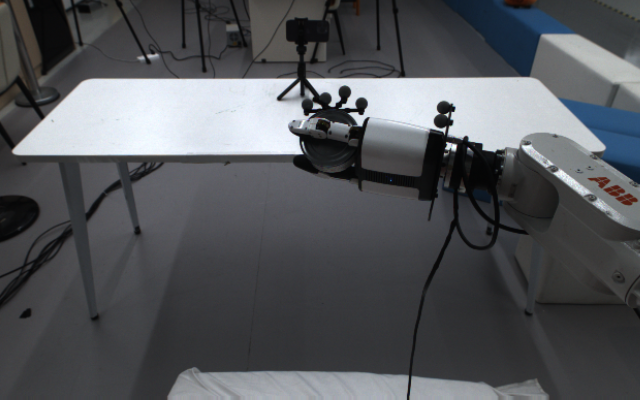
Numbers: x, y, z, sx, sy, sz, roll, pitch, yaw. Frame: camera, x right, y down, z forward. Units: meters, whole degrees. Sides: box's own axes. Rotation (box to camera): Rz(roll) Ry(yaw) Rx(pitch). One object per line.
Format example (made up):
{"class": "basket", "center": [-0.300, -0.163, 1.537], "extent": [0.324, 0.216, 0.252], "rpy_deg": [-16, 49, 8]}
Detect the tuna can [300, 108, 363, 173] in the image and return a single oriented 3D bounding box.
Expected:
{"class": "tuna can", "center": [0.017, -0.083, 0.687], "extent": [0.085, 0.034, 0.085], "rpy_deg": [-3, 73, 10]}
